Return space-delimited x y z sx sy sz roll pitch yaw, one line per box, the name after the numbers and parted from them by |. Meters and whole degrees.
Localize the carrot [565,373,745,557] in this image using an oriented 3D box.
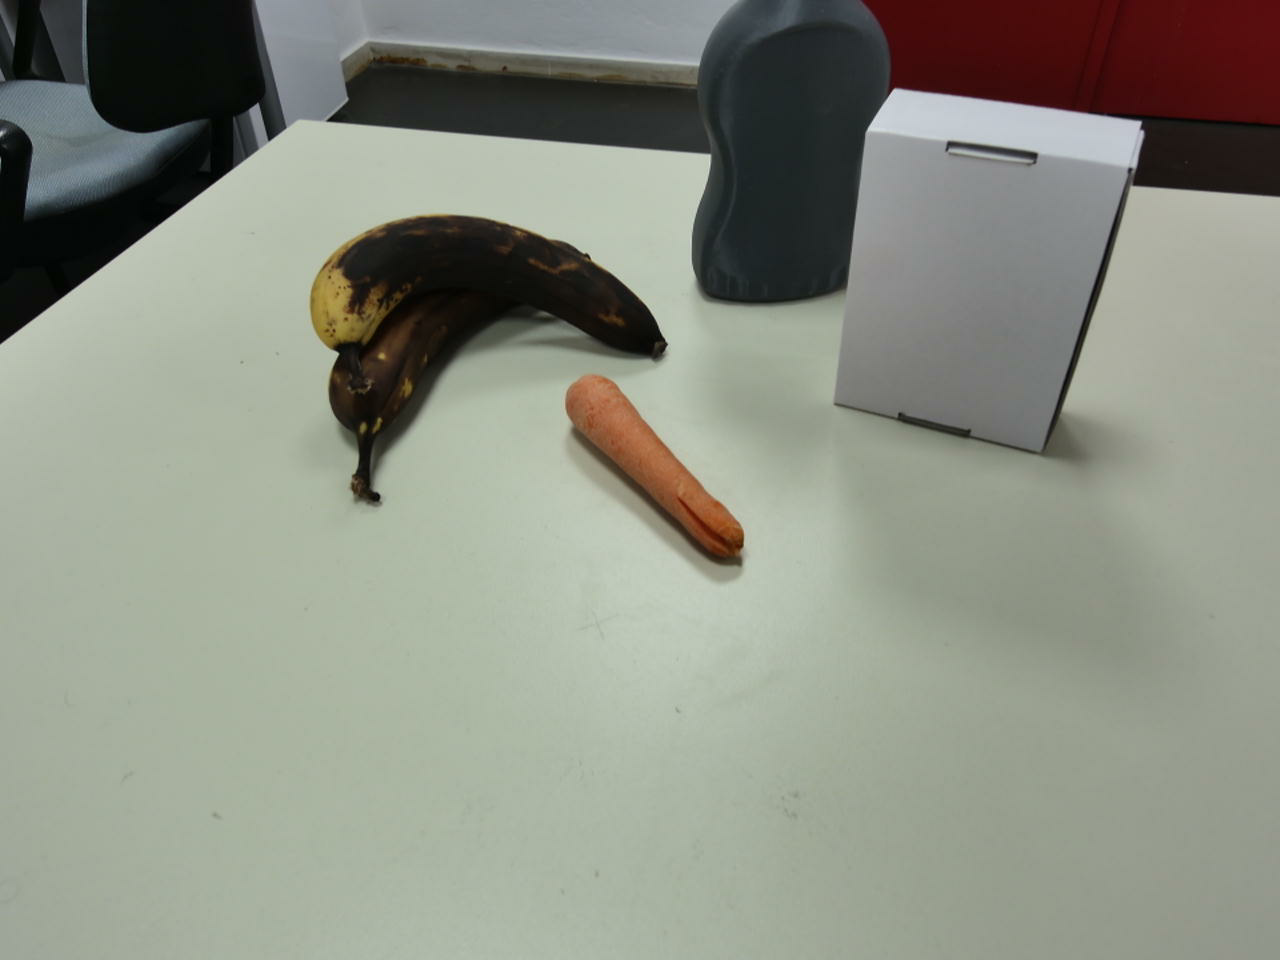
0.004 -0.010 0.466 0.030 0.032 0.136 -21 42 -24 | carrot
